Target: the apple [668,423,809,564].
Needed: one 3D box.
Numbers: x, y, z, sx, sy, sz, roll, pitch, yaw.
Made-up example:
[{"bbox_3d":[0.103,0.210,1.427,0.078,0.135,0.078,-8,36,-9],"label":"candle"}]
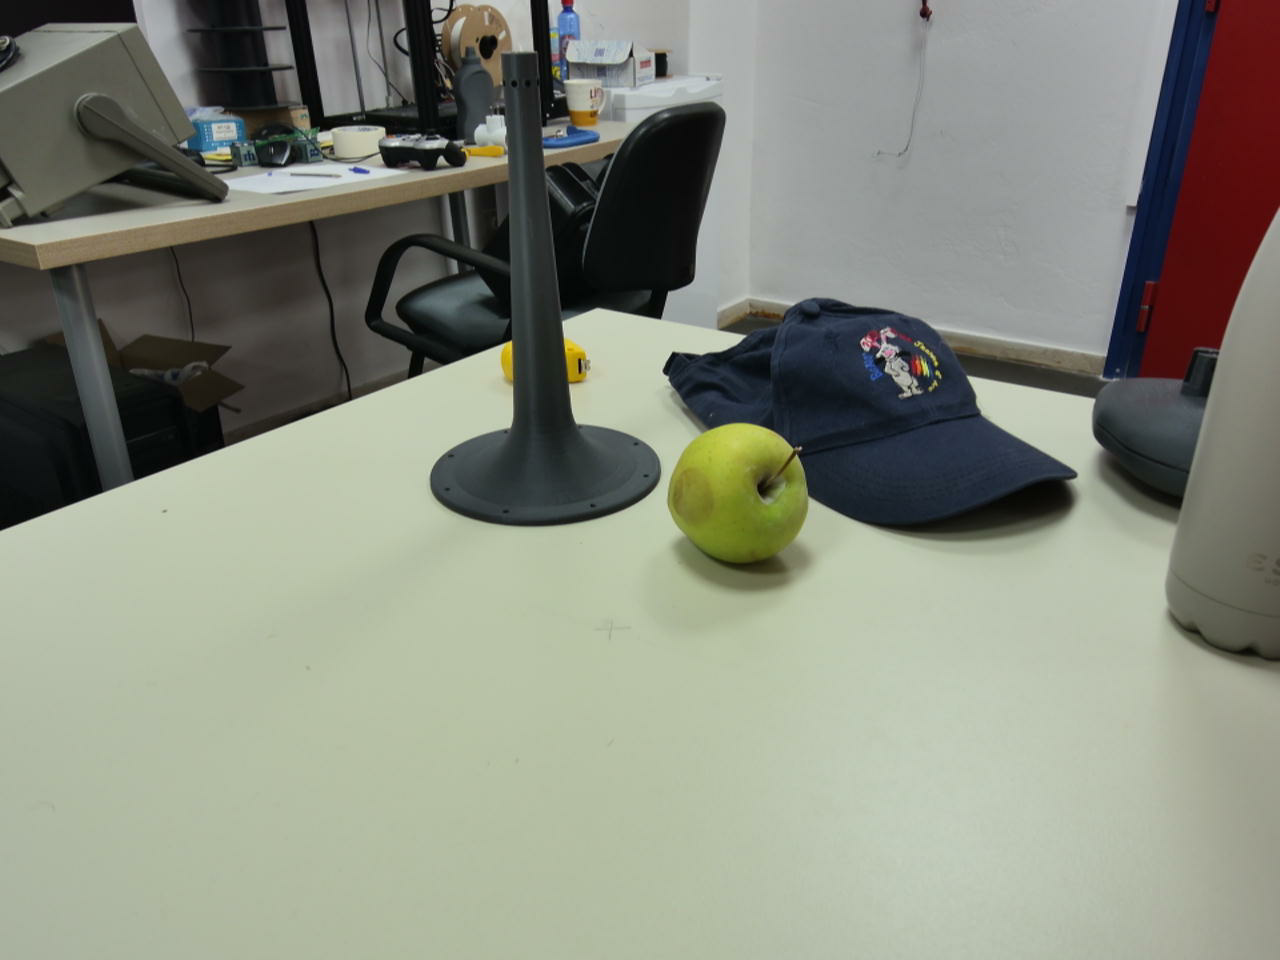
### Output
[{"bbox_3d":[0.053,0.006,0.539,0.072,0.075,0.077,-3,24,-8],"label":"apple"}]
